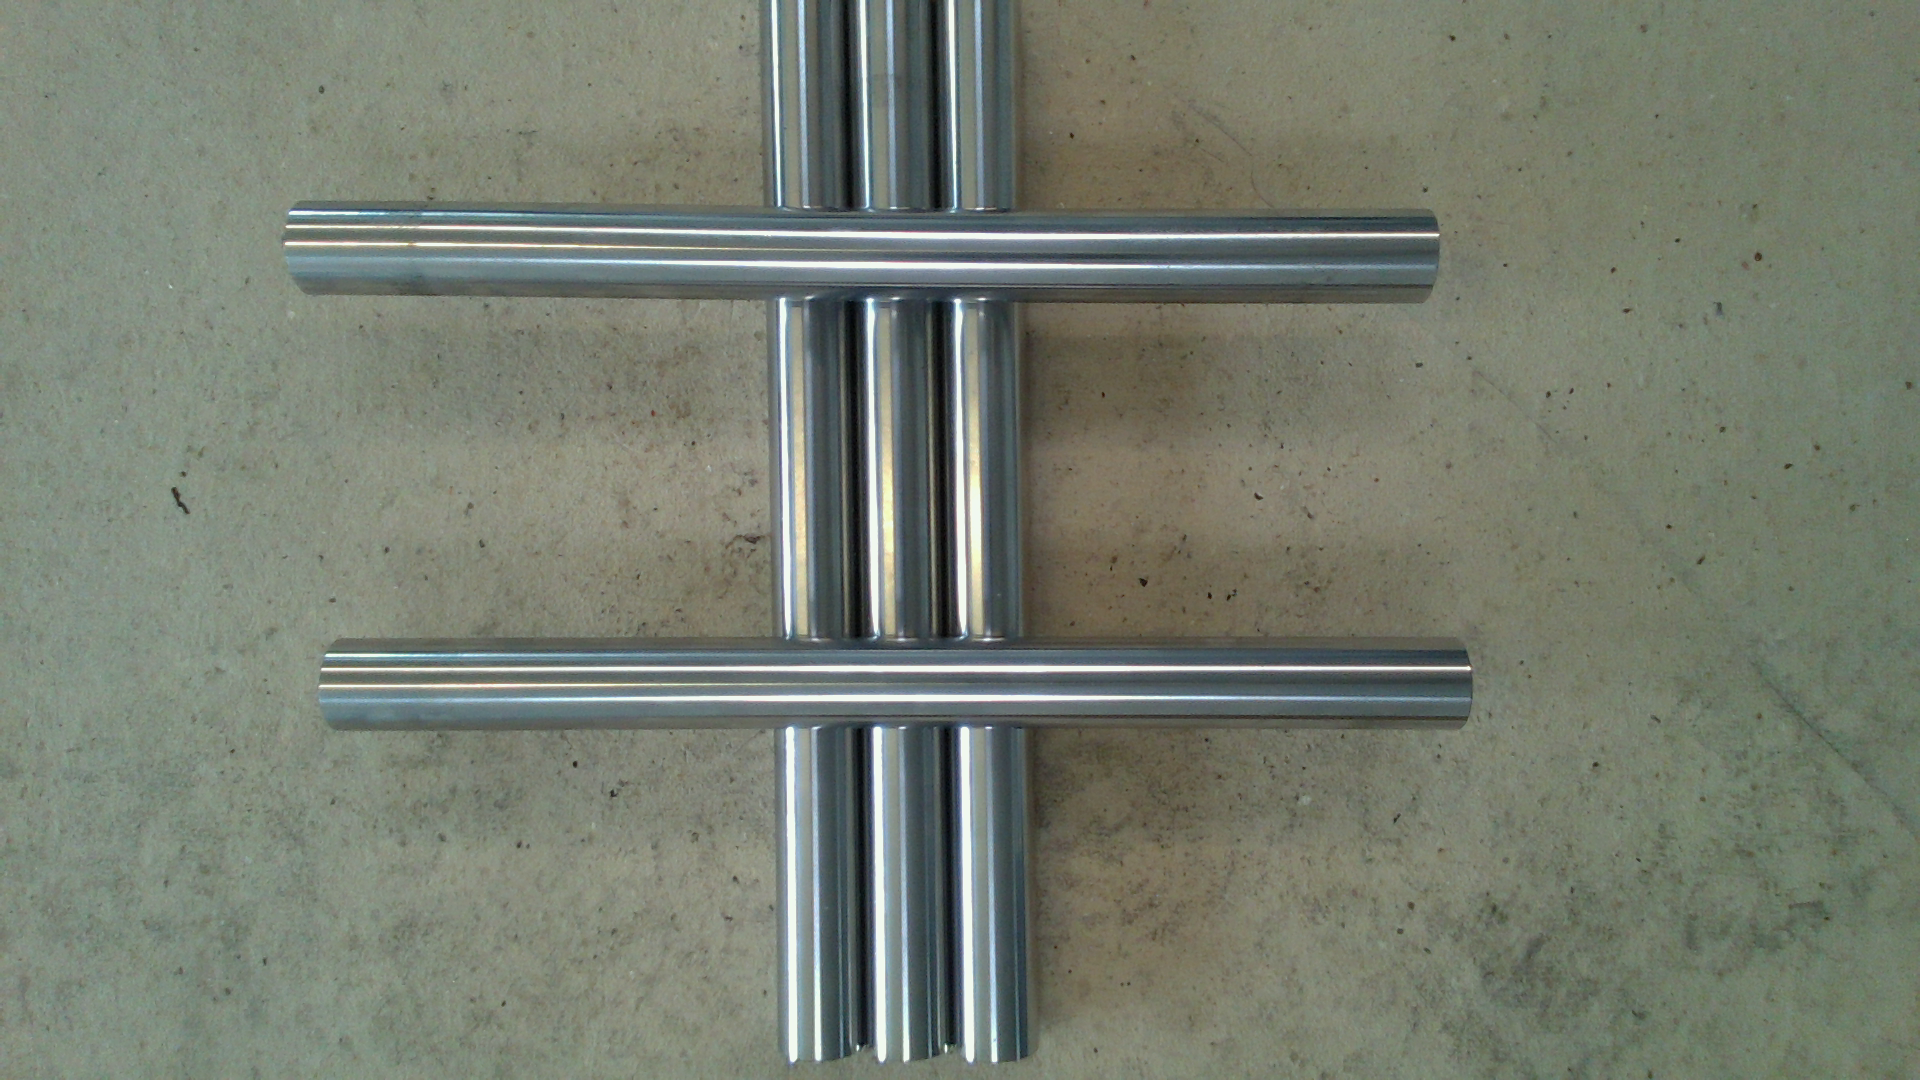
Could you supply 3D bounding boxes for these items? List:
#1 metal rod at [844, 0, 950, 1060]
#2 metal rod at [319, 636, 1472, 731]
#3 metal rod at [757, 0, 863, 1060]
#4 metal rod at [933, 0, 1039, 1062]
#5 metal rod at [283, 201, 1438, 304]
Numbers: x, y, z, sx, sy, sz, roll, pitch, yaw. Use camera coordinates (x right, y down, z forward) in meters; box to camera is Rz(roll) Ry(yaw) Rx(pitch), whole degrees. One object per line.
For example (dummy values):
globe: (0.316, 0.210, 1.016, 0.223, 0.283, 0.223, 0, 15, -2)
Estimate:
metal rod: (-0.018, -0.005, 0.395, 0.025, 0.025, 0.300, -1, 90, 0)
metal rod: (-0.016, 0.039, 0.370, 0.300, 0.025, 0.025, 0, 90, 0)
metal rod: (-0.043, -0.005, 0.395, 0.025, 0.025, 0.300, -1, 90, 0)
metal rod: (0.007, -0.005, 0.395, 0.025, 0.025, 0.300, -1, 90, 0)
metal rod: (-0.025, -0.077, 0.370, 0.300, 0.025, 0.025, 0, 90, 0)
